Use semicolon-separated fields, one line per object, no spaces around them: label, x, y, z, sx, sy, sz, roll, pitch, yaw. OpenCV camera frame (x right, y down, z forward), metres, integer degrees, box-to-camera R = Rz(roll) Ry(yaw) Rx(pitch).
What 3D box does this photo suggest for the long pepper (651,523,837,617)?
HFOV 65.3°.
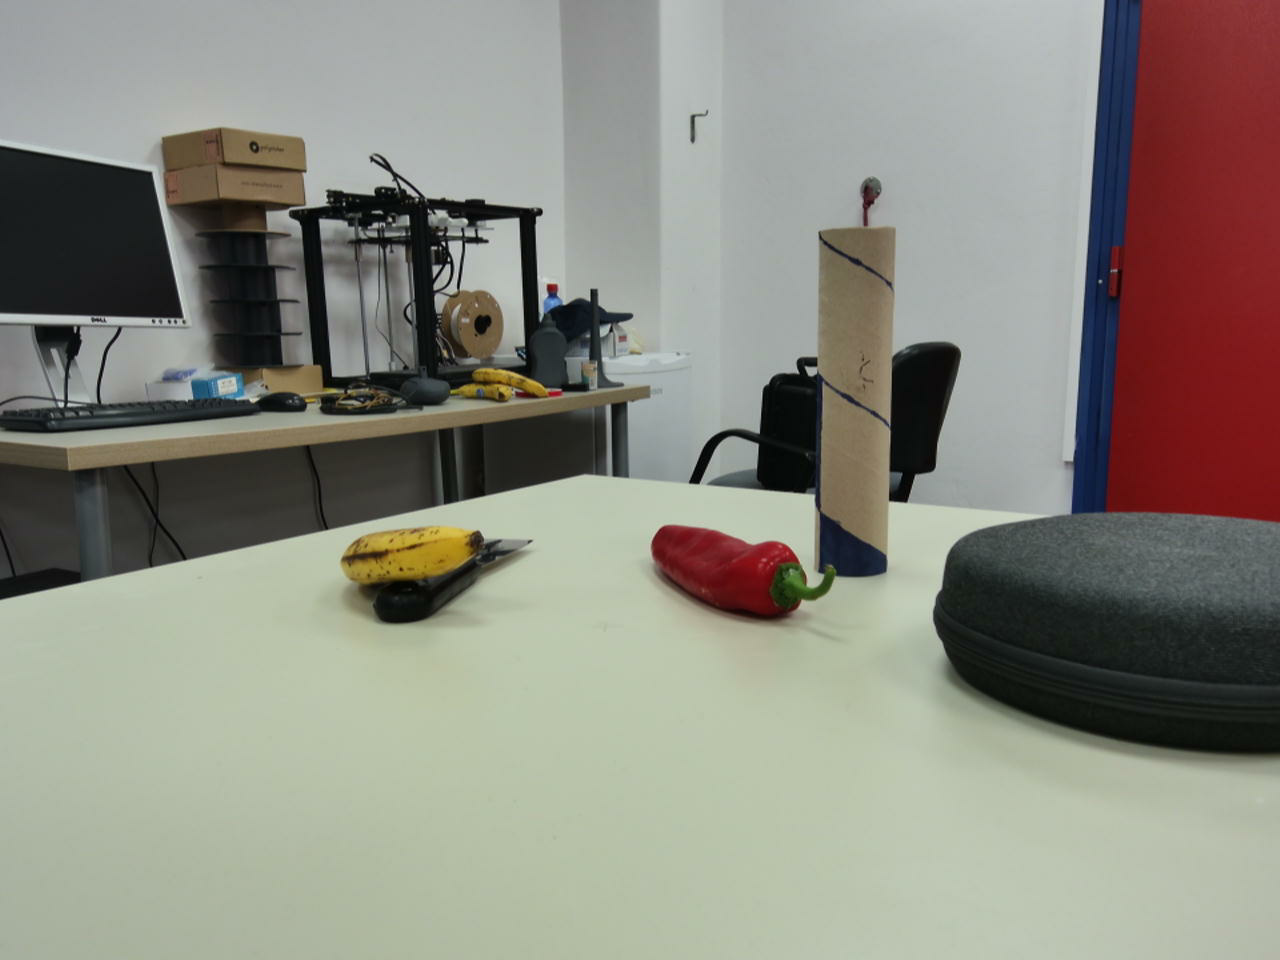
long pepper;0.051;0.051;0.620;0.050;0.043;0.211;-3;7;-23
